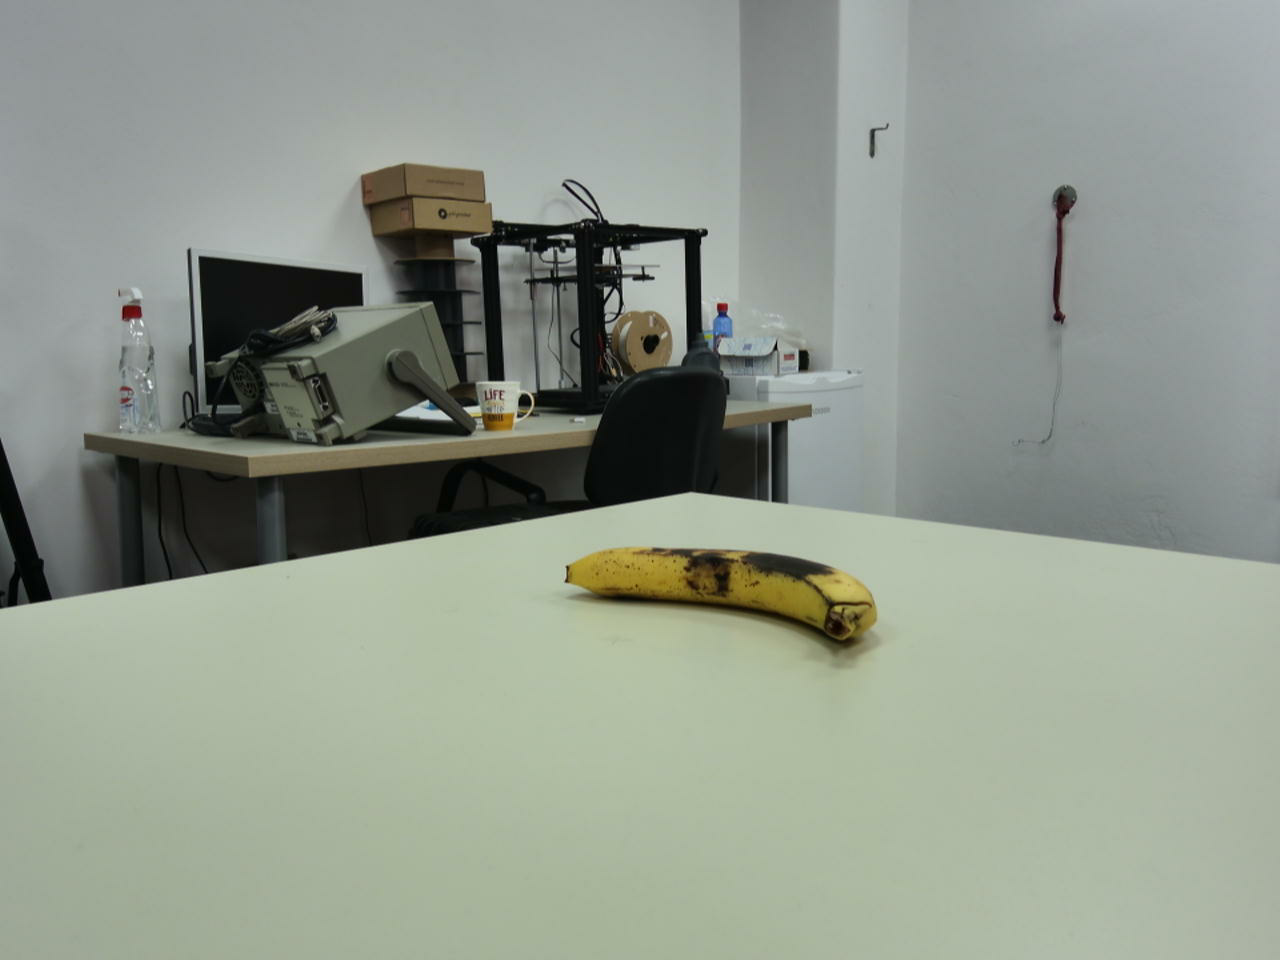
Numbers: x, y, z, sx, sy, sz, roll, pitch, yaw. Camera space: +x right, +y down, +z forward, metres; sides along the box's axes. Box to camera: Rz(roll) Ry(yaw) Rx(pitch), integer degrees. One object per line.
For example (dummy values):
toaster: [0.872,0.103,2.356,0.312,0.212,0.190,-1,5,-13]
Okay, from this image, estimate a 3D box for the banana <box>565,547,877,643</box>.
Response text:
banana: [0.055,0.064,0.611,0.084,0.037,0.222,-5,8,-43]
